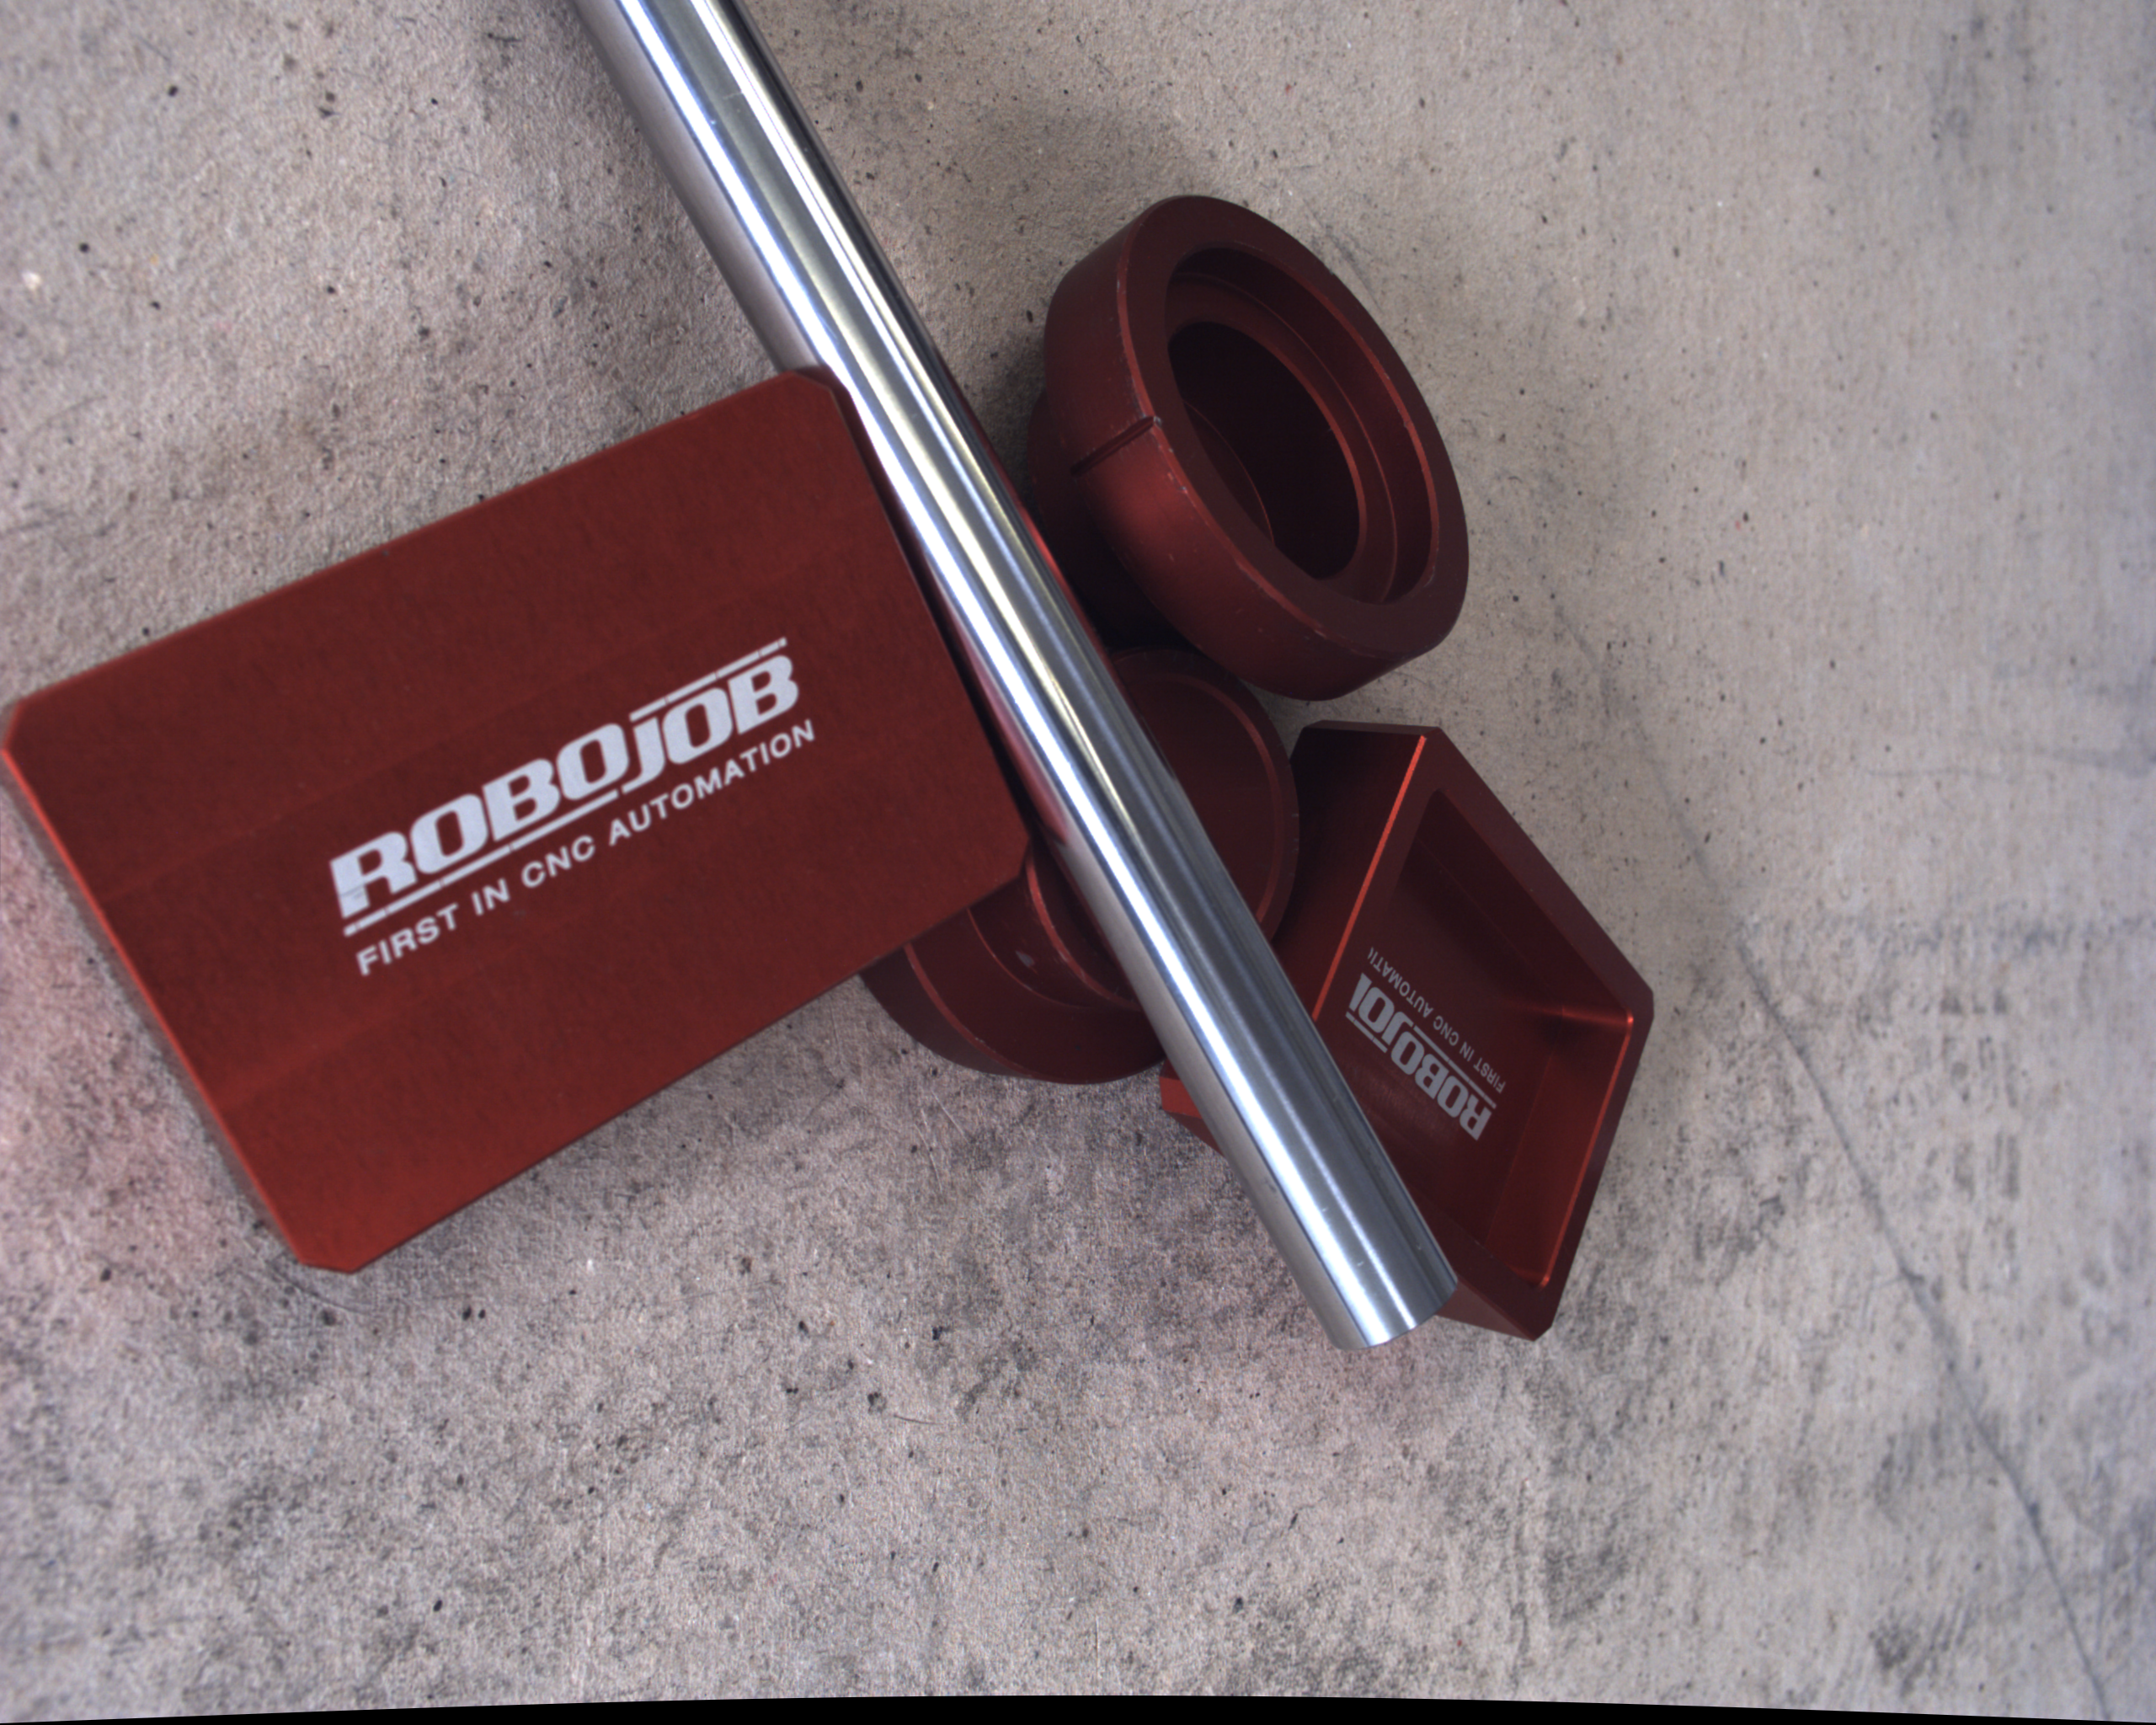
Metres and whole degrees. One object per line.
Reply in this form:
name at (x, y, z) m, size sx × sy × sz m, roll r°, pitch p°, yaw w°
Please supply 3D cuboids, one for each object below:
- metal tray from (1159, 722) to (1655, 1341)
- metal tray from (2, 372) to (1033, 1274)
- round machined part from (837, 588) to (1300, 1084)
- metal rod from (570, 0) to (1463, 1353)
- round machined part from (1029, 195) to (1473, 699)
metal tray at (0.077, 0.039, 0.453) m, size 0.130 × 0.030 × 0.090 m, roll 42°, pitch 64°, yaw -44°
metal tray at (-0.080, -0.010, 0.321) m, size 0.131 × 0.030 × 0.090 m, roll -31°, pitch 107°, yaw -27°
round machined part at (0.004, -0.006, 0.399) m, size 0.099 × 0.042 × 0.097 m, roll 0°, pitch 90°, yaw -40°
metal rod at (-0.017, -0.051, 0.348) m, size 0.025 × 0.025 × 0.299 m, roll -34°, pitch 98°, yaw -35°
round machined part at (0.030, -0.076, 0.405) m, size 0.099 × 0.042 × 0.098 m, roll 25°, pitch 52°, yaw -36°
